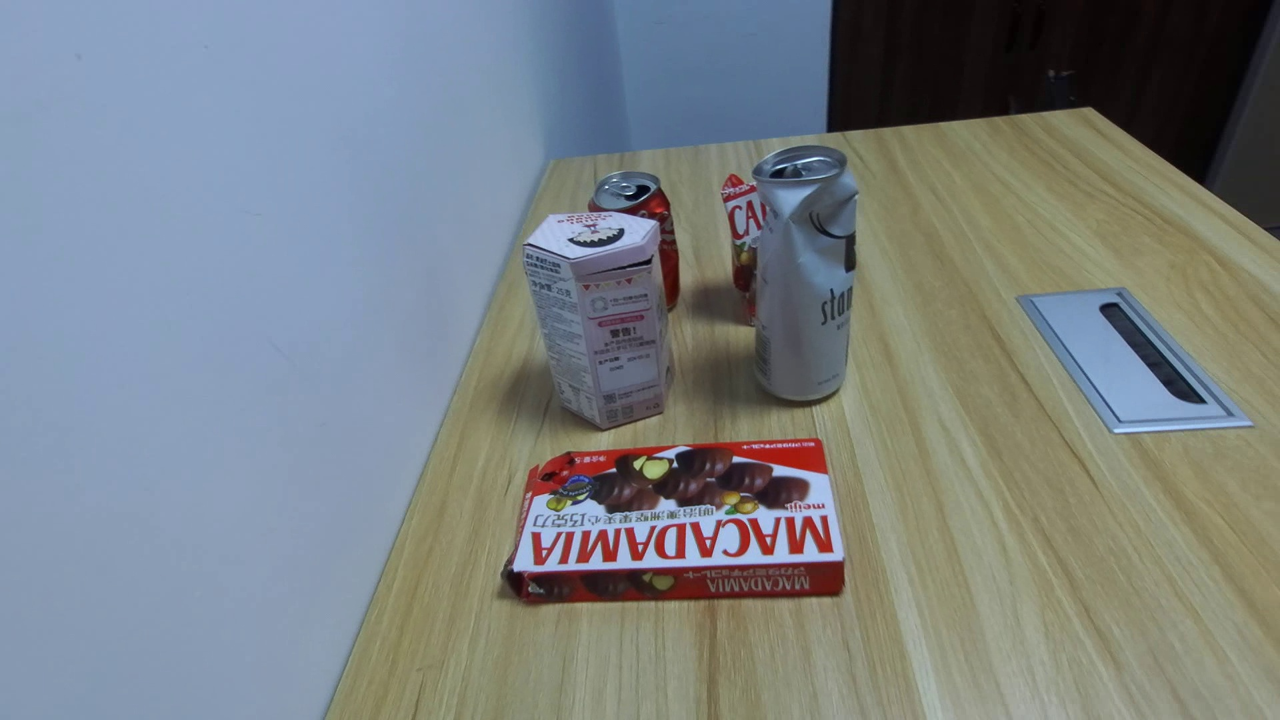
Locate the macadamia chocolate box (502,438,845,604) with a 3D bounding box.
[{"bbox_3d":[0.018,0.090,0.412,0.186,0.027,0.102,-4,34,7],"label":"macadamia chocolate box"}]

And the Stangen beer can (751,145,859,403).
[{"bbox_3d":[0.105,-0.051,0.464,0.066,0.166,0.065,-23,39,-16],"label":"Stangen beer can"}]

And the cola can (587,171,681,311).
[{"bbox_3d":[-0.004,-0.096,0.590,0.066,0.113,0.069,-15,38,-9],"label":"cola can"}]

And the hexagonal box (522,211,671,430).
[{"bbox_3d":[-0.023,-0.029,0.485,0.092,0.135,0.084,-15,37,-8],"label":"hexagonal box"}]
